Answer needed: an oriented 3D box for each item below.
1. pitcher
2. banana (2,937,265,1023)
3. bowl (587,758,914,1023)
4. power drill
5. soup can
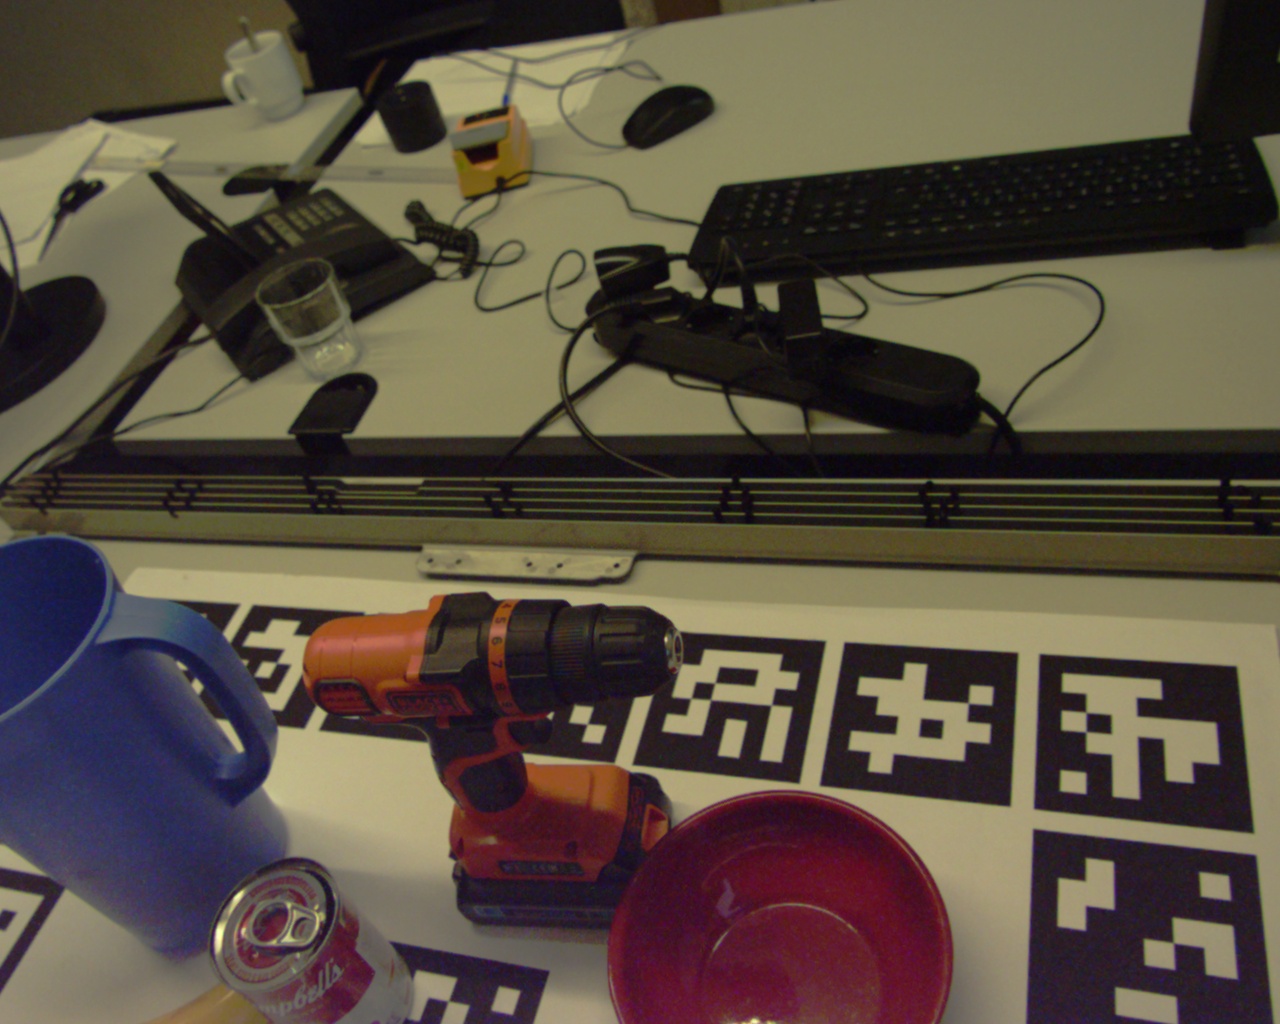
[{"bbox_3d":[-0.288,0.126,0.652,0.189,0.240,0.134,-17,40,3],"label":"pitcher"},{"bbox_3d":[-0.292,0.279,0.651,0.197,0.038,0.075,-17,35,2],"label":"banana"},{"bbox_3d":[0.057,0.207,0.574,0.162,0.055,0.162,-11,45,11],"label":"bowl"},{"bbox_3d":[-0.053,0.107,0.595,0.186,0.185,0.057,-3,46,17],"label":"power drill"},{"bbox_3d":[-0.171,0.220,0.617,0.068,0.101,0.068,-11,35,7],"label":"soup can"}]
